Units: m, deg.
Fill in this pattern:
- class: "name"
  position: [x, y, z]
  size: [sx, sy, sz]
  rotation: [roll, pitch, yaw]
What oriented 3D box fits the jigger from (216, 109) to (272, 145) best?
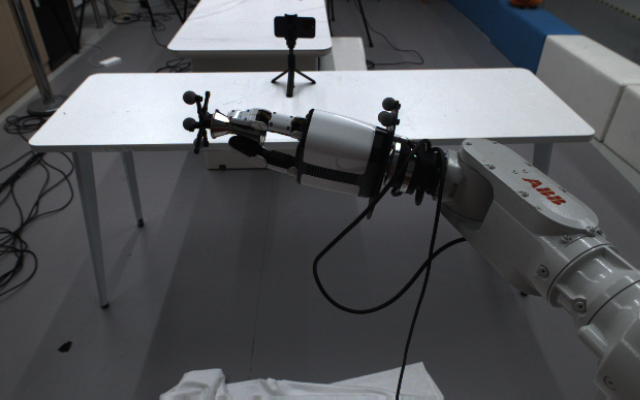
- class: "jigger"
  position: [-0.102, -0.102, 0.657]
  size: [0.071, 0.043, 0.043]
  rotation: [7, 35, 2]
